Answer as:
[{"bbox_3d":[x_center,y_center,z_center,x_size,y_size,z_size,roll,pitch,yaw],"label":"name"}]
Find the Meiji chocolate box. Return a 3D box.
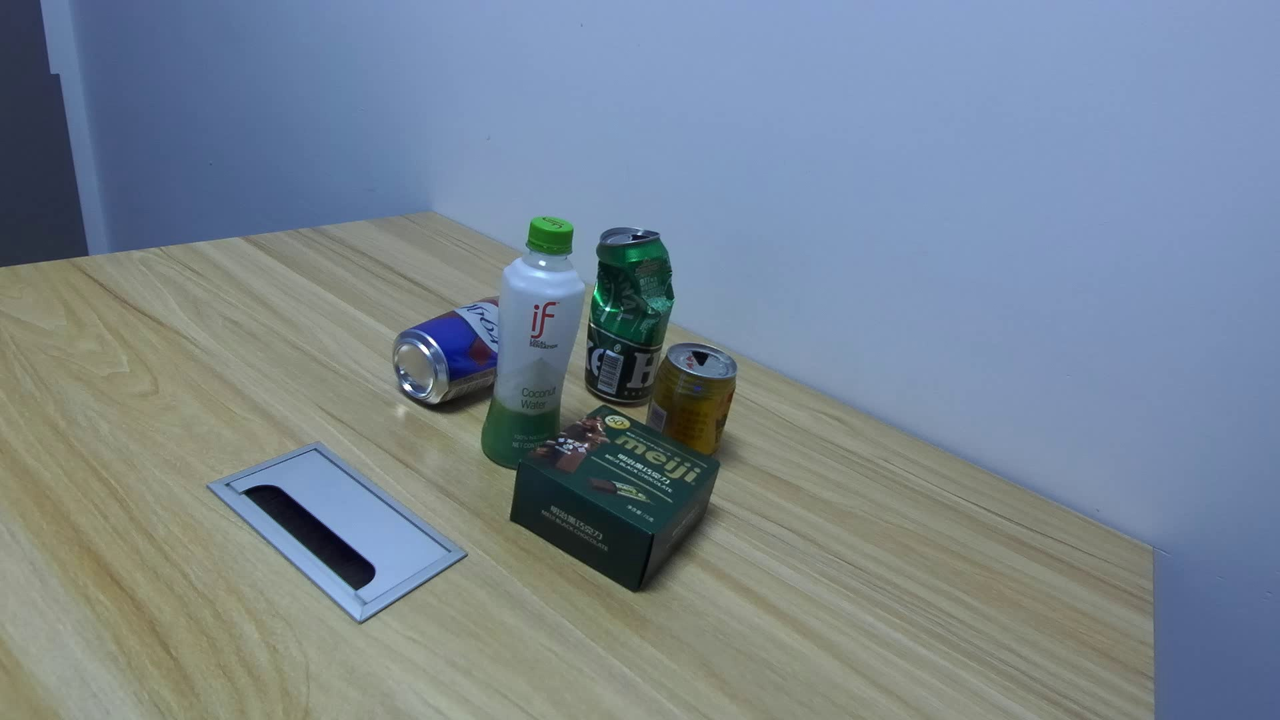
[{"bbox_3d":[-0.015,0.093,0.506,0.109,0.056,0.109,24,29,22],"label":"Meiji chocolate box"}]

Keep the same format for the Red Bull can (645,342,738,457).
[{"bbox_3d":[0.041,0.039,0.588,0.069,0.092,0.069,11,24,-5],"label":"Red Bull can"}]

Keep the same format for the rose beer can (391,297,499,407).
[{"bbox_3d":[-0.145,-0.014,0.651,0.069,0.069,0.168,-4,16,38],"label":"rose beer can"}]

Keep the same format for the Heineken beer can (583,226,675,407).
[{"bbox_3d":[-0.008,-0.039,0.654,0.078,0.159,0.067,7,21,6],"label":"Heineken beer can"}]

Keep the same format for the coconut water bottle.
[{"bbox_3d":[-0.078,-0.011,0.529,0.063,0.188,0.063,10,26,-5],"label":"coconut water bottle"}]
